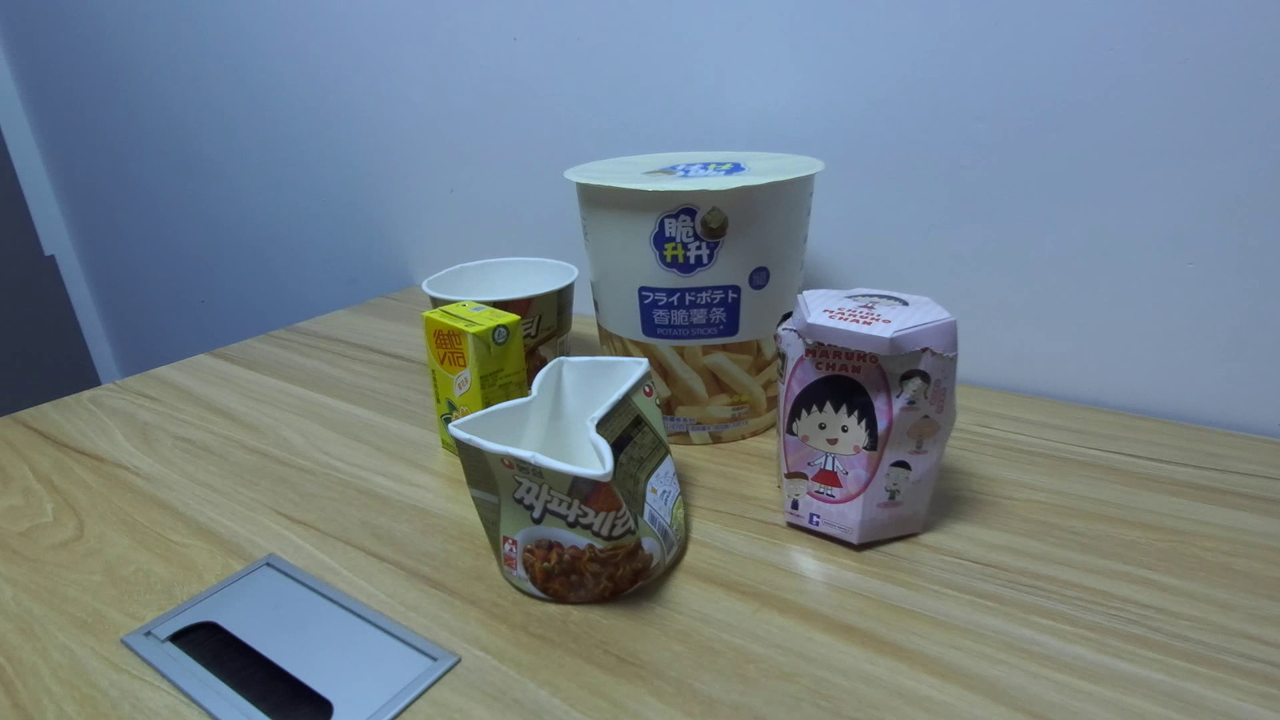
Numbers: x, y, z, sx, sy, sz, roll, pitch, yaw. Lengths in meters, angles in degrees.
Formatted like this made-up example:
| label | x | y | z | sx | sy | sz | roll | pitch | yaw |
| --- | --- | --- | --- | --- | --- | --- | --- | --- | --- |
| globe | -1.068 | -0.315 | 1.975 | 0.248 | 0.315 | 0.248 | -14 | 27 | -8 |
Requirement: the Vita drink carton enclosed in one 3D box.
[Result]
| label | x | y | z | sx | sy | sz | roll | pitch | yaw |
| --- | --- | --- | --- | --- | --- | --- | --- | --- | --- |
| Vita drink carton | -0.115 | 0.017 | 0.510 | 0.066 | 0.109 | 0.044 | 18 | 30 | 40 |

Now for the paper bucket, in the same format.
| label | x | y | z | sx | sy | sz | roll | pitch | yaw |
| --- | --- | --- | --- | --- | --- | --- | --- | --- | --- |
| paper bucket | 0.044 | -0.052 | 0.552 | 0.198 | 0.195 | 0.198 | -2 | 22 | 1 |

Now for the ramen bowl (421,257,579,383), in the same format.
| label | x | y | z | sx | sy | sz | roll | pitch | yaw |
| --- | --- | --- | --- | --- | --- | --- | --- | --- | --- |
| ramen bowl | -0.123 | -0.034 | 0.659 | 0.140 | 0.095 | 0.140 | -2 | 23 | 1 |

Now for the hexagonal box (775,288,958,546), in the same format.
| label | x | y | z | sx | sy | sz | roll | pitch | yaw |
| --- | --- | --- | --- | --- | --- | --- | --- | --- | --- |
| hexagonal box | 0.129 | 0.031 | 0.421 | 0.090 | 0.134 | 0.091 | -5 | 22 | -13 |

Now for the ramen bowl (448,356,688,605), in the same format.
| label | x | y | z | sx | sy | sz | roll | pitch | yaw |
| --- | --- | --- | --- | --- | --- | --- | --- | --- | --- |
| ramen bowl | -0.028 | 0.063 | 0.407 | 0.111 | 0.093 | 0.128 | 9 | 26 | 27 |
